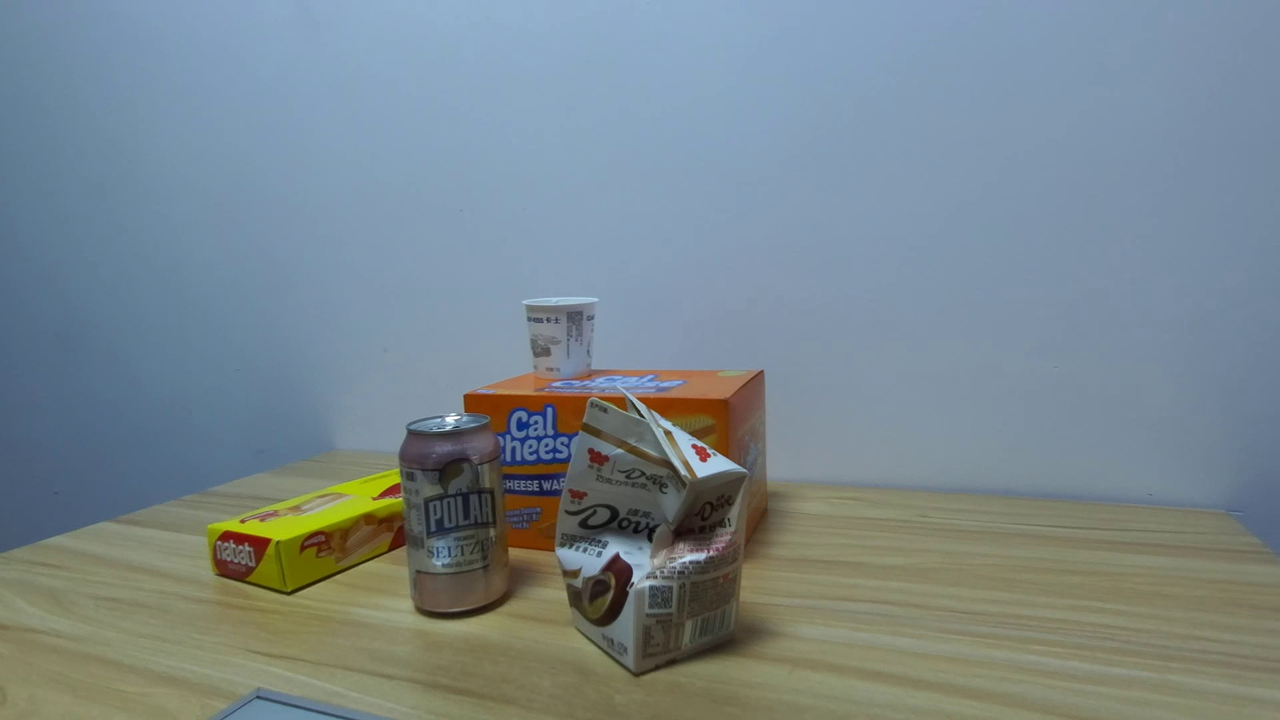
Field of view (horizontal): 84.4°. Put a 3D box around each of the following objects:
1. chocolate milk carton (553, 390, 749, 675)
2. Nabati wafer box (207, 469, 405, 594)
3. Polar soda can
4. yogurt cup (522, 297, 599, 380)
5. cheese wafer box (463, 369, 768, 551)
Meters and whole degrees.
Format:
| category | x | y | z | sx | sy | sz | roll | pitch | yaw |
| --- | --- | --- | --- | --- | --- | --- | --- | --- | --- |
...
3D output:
| category | x | y | z | sx | sy | sz | roll | pitch | yaw |
| --- | --- | --- | --- | --- | --- | --- | --- | --- | --- |
| chocolate milk carton | 0.006 | 0.095 | 0.404 | 0.077 | 0.155 | 0.089 | -13 | 26 | -34 |
| Nabati wafer box | -0.237 | 0.133 | 0.595 | 0.096 | 0.042 | 0.204 | -2 | 5 | 31 |
| Polar soda can | -0.125 | 0.103 | 0.477 | 0.067 | 0.125 | 0.067 | -3 | 5 | 1 |
| yogurt cup | -0.071 | -0.020 | 0.646 | 0.072 | 0.068 | 0.072 | -1 | 9 | 0 |
| cheese wafer box | -0.012 | 0.080 | 0.610 | 0.221 | 0.129 | 0.148 | 0 | 8 | 22 |
